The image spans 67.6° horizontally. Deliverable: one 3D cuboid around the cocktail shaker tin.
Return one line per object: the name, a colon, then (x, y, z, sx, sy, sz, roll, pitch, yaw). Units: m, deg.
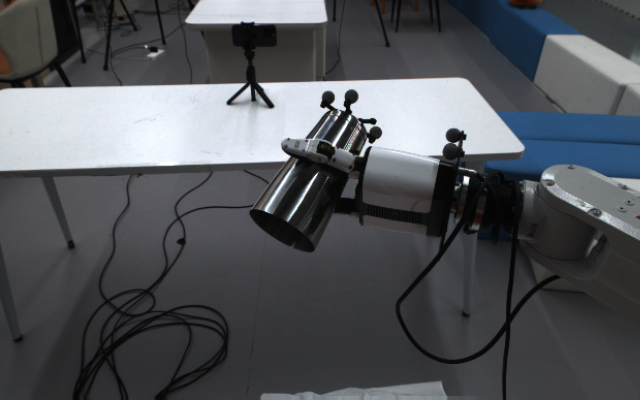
cocktail shaker tin: (-0.004, -0.034, 0.613, 0.093, 0.093, 0.170, 20, 67, 24)
